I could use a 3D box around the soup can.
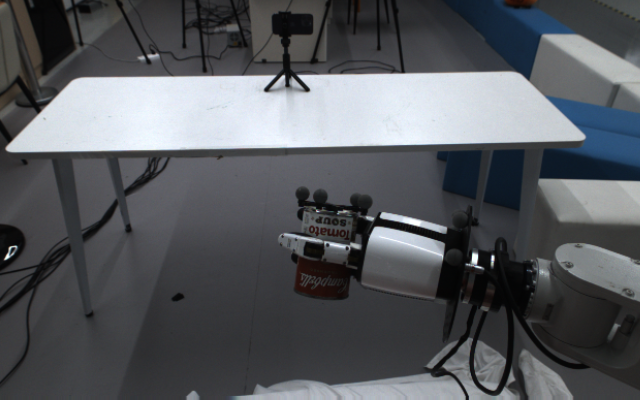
[{"bbox_3d":[0.009,0.063,0.583,0.067,0.101,0.067,7,3,0],"label":"soup can"}]
